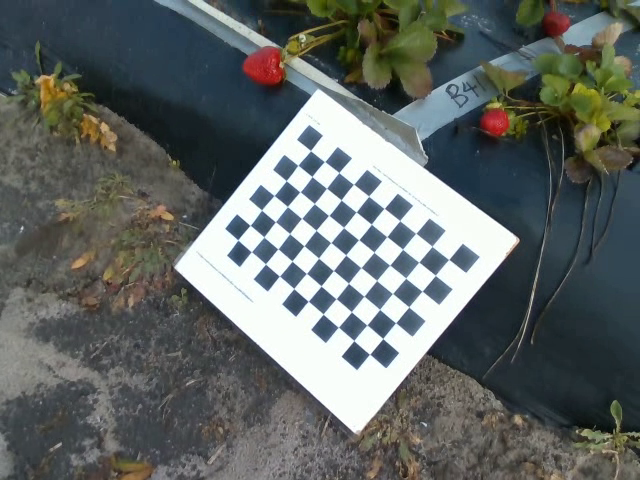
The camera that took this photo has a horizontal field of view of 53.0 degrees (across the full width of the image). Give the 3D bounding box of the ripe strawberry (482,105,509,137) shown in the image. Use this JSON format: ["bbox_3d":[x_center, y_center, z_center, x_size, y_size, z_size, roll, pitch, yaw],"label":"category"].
[{"bbox_3d":[0.195,-0.125,0.688,0.047,0.038,0.031,-19,-23,-47],"label":"ripe strawberry"}]

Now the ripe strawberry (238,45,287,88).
[{"bbox_3d":[-0.062,-0.193,0.712,0.052,0.048,0.030,-8,-11,-14],"label":"ripe strawberry"}]
